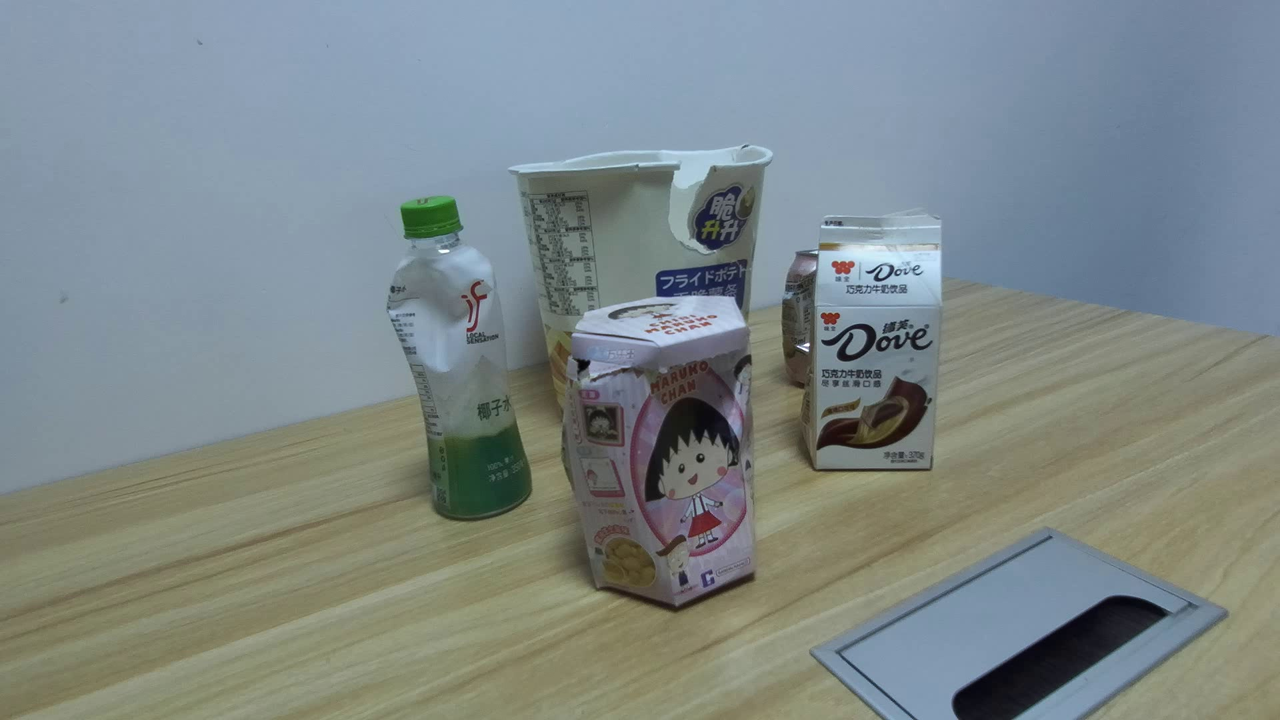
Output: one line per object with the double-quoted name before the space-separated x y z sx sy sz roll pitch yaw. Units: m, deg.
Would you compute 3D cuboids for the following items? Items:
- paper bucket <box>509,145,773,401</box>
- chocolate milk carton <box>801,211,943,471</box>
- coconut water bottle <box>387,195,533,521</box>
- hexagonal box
"paper bucket" 0.003 -0.055 0.534 0.202 0.197 0.146 3 21 24
"chocolate milk carton" 0.142 -0.014 0.448 0.084 0.155 0.073 -2 19 9
"coconut water bottle" -0.108 -0.001 0.425 0.069 0.187 0.069 -4 18 2
"hexagonal box" 0.012 0.042 0.355 0.091 0.134 0.090 -1 17 13
